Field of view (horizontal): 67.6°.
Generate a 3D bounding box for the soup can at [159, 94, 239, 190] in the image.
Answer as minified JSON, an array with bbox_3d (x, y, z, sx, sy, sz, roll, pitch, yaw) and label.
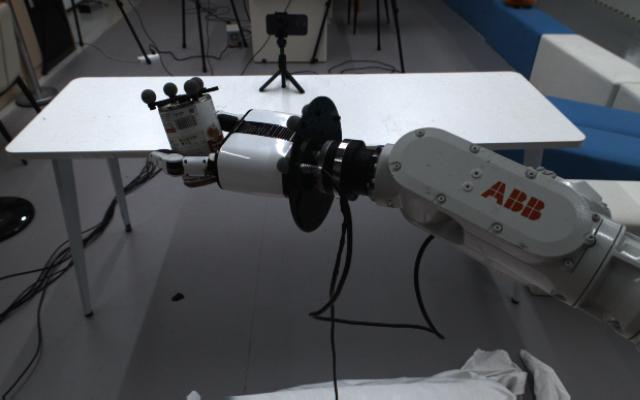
[{"bbox_3d":[-0.153,-0.074,0.607,0.067,0.101,0.067,-13,19,5],"label":"soup can"}]
